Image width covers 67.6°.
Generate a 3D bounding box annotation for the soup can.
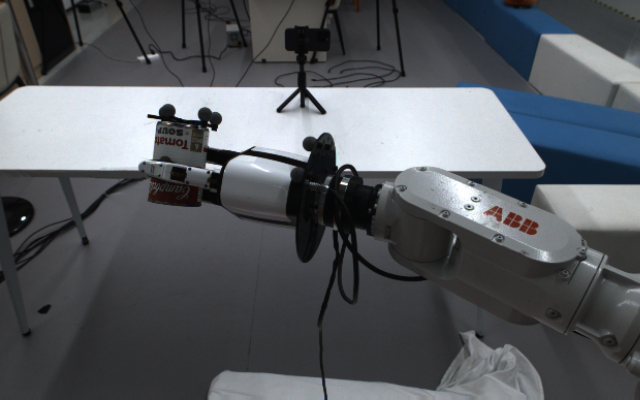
[{"bbox_3d":[-0.182,-0.044,0.626,0.067,0.101,0.067,7,3,0],"label":"soup can"}]
